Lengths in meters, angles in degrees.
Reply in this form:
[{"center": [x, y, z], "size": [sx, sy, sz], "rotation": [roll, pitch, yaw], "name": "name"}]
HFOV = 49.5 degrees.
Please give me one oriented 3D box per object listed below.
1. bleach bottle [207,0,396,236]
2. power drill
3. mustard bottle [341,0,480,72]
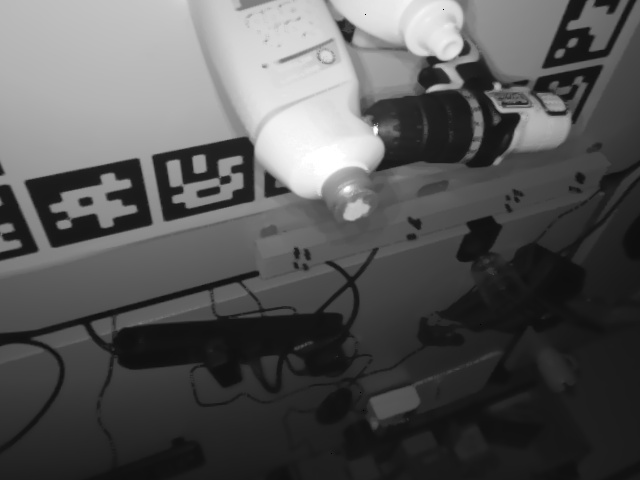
[{"center": [-0.004, -0.110, 0.493], "size": [0.104, 0.251, 0.067], "rotation": [-11, 148, -19], "name": "bleach bottle"}, {"center": [0.098, -0.129, 0.538], "size": [0.187, 0.187, 0.056], "rotation": [-4, 140, -25], "name": "power drill"}, {"center": [0.058, -0.180, 0.484], "size": [0.097, 0.191, 0.058], "rotation": [-12, 142, -16], "name": "mustard bottle"}]
